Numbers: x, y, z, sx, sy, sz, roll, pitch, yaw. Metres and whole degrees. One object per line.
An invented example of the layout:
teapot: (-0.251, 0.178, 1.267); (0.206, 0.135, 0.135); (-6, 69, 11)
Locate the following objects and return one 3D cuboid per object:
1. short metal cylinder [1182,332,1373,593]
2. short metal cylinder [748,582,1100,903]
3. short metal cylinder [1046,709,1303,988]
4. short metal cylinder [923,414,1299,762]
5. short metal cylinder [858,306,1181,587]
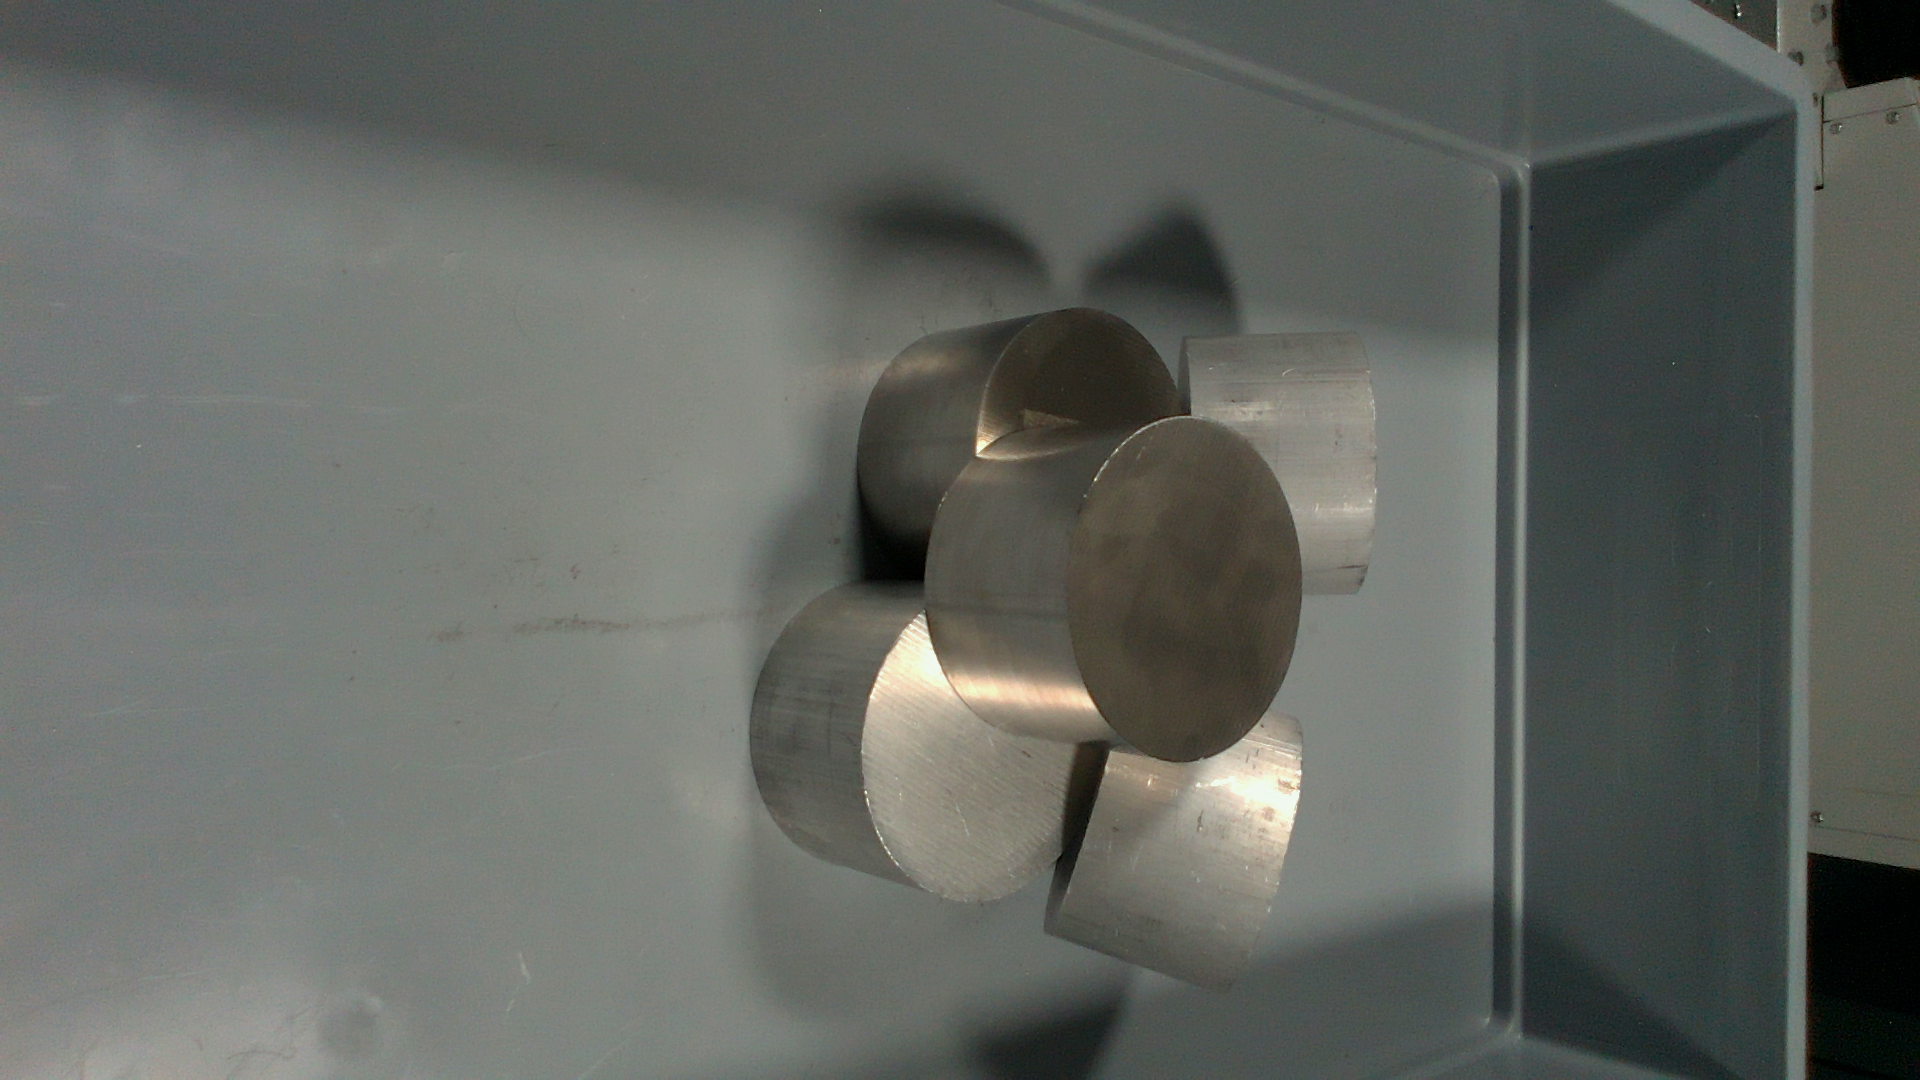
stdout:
short metal cylinder: (0.094, -0.023, 0.423); (0.080, 0.050, 0.080); (-1, 90, -84)
short metal cylinder: (-0.009, 0.051, 0.365); (0.080, 0.050, 0.080); (0, 90, -40)
short metal cylinder: (0.059, 0.080, 0.392); (0.050, 0.080, 0.080); (18, 75, 3)
short metal cylinder: (0.038, 0.011, 0.336); (0.080, 0.050, 0.080); (0, 90, -40)
short metal cylinder: (0.018, -0.022, 0.386); (0.080, 0.050, 0.080); (0, 90, -40)
